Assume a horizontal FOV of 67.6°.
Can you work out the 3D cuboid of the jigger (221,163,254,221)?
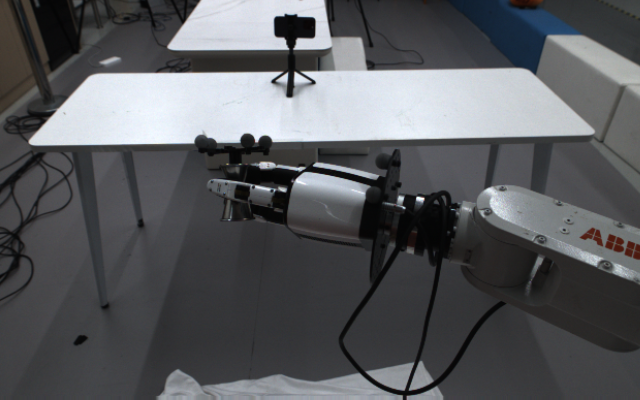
[{"bbox_3d":[-0.102,-0.009,0.593,0.043,0.071,0.043,-2,3,0],"label":"jigger"}]
